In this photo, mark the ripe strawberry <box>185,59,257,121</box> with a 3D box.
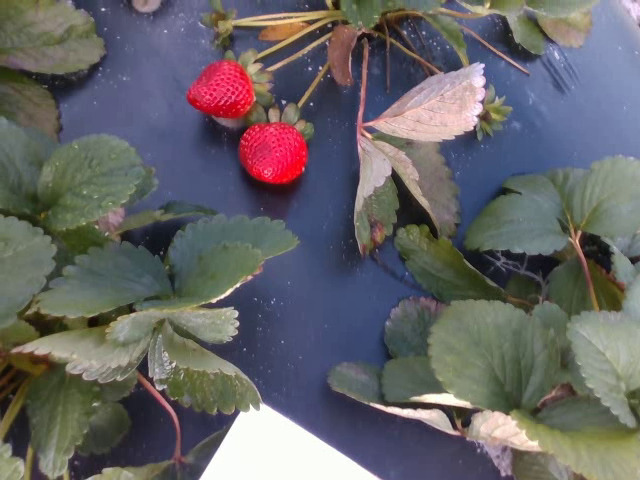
[{"bbox_3d":[-0.074,-0.107,0.455,0.056,0.049,0.041,-38,-14,-37],"label":"ripe strawberry"}]

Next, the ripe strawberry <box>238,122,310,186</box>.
[{"bbox_3d":[-0.036,-0.062,0.435,0.058,0.051,0.064,11,39,0],"label":"ripe strawberry"}]
